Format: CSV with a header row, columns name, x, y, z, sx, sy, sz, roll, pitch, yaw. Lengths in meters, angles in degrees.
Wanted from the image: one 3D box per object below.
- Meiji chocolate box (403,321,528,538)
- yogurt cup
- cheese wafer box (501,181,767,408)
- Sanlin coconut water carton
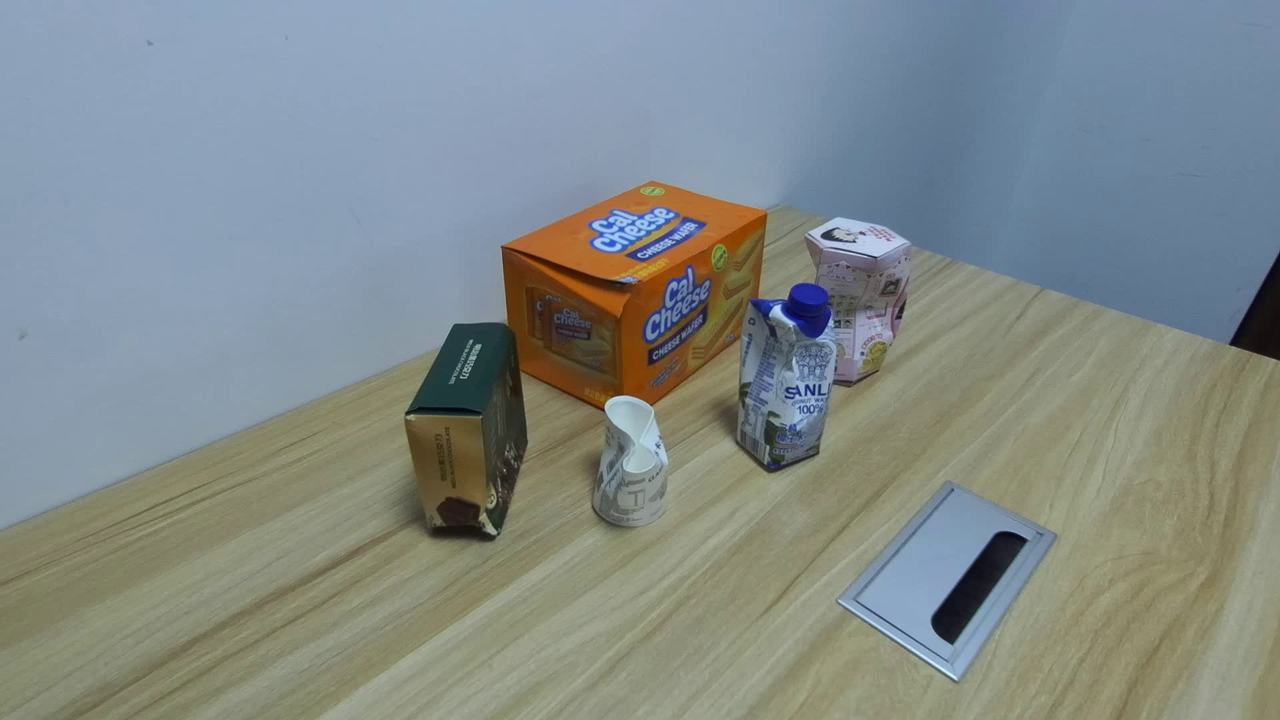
name,x,y,z,sx,sy,sz,roll,pitch,yaw
Meiji chocolate box,-0.122,0.049,0.512,0.058,0.116,0.122,3,32,2
yogurt cup,-0.007,0.076,0.502,0.054,0.071,0.075,-23,39,-30
cheese wafer box,0.001,-0.069,0.674,0.149,0.137,0.228,23,39,31
Sanlin coconut water carton,0.114,0.007,0.549,0.057,0.144,0.068,-13,27,-32
